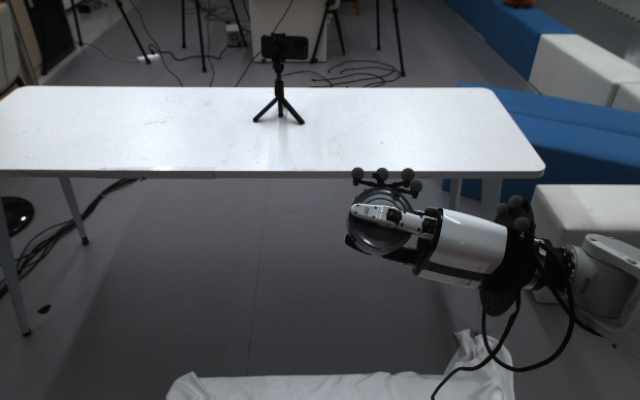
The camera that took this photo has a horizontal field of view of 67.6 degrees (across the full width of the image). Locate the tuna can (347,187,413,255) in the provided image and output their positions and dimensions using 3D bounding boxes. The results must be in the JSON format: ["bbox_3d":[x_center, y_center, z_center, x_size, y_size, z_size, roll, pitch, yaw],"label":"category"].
[{"bbox_3d":[0.079,0.024,0.630,0.085,0.034,0.085,1,73,-3],"label":"tuna can"}]
